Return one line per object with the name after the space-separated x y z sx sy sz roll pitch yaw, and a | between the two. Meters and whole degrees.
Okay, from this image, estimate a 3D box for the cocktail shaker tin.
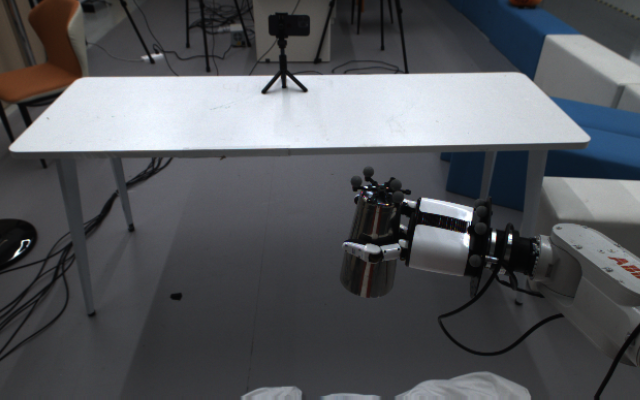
0.086 0.062 0.780 0.093 0.170 0.093 4 32 -2 | cocktail shaker tin
